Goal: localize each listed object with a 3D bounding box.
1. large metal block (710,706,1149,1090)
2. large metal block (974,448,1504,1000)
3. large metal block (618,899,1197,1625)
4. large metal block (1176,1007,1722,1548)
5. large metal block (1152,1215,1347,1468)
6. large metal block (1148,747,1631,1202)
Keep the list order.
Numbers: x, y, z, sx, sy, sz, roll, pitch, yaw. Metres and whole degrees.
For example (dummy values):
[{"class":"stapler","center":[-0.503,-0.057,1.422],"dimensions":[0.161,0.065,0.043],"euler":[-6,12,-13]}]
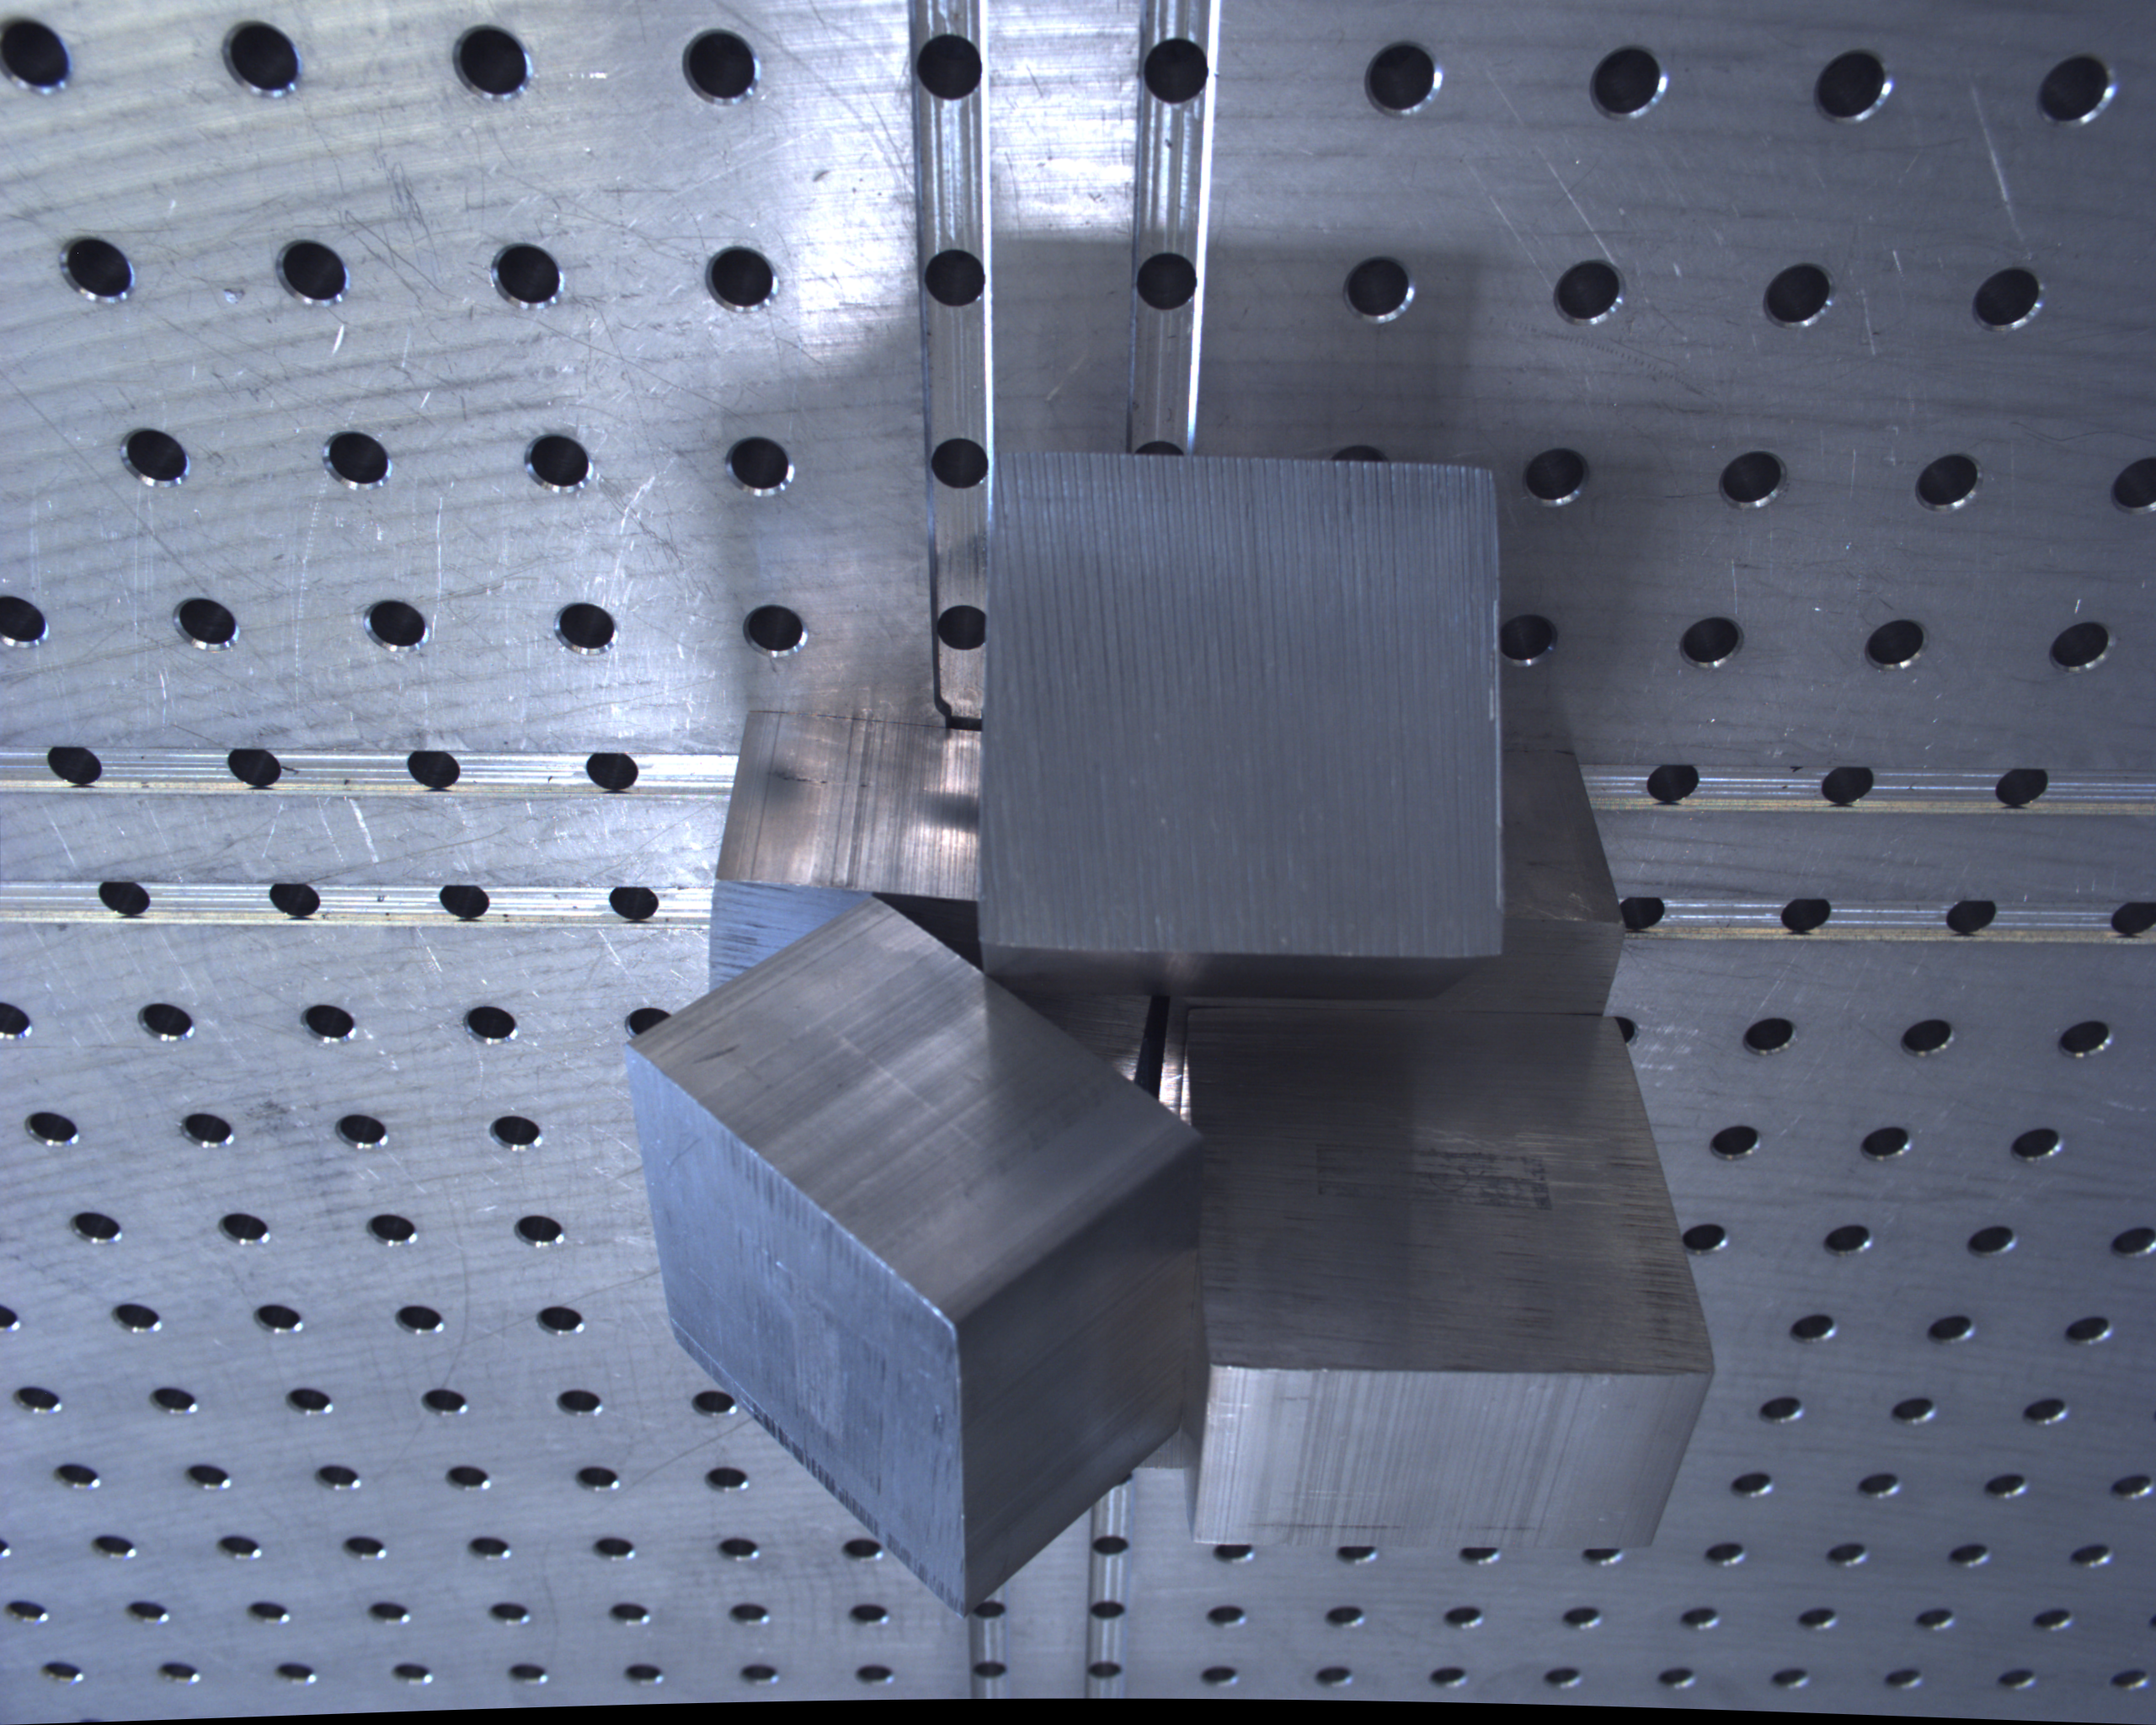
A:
[{"class":"large metal block","center":[-0.029,0.020,0.412],"dimensions":[0.080,0.050,0.080],"euler":[5,130,-5]},{"class":"large metal block","center":[0.025,-0.021,0.348],"dimensions":[0.080,0.080,0.050],"euler":[2,168,-2]},{"class":"large metal block","center":[-0.029,0.066,0.355],"dimensions":[0.080,0.050,0.080],"euler":[33,140,32]},{"class":"large metal block","center":[0.059,0.072,0.371],"dimensions":[0.080,0.080,0.050],"euler":[1,130,-1]},{"class":"large metal block","center":[0.016,0.097,0.451],"dimensions":[0.080,0.050,0.080],"euler":[2,175,-1]},{"class":"large metal block","center":[0.056,0.023,0.415],"dimensions":[0.080,0.050,0.080],"euler":[2,130,-2]}]
